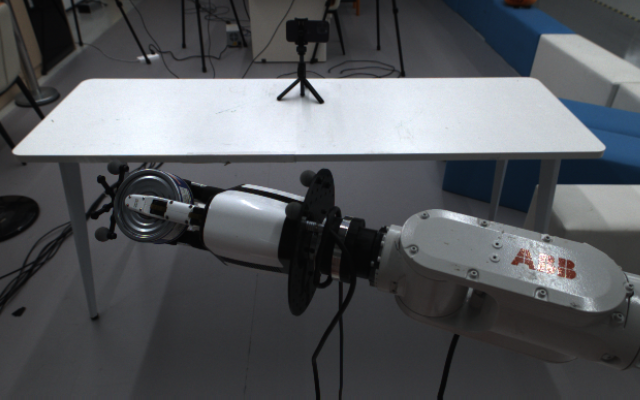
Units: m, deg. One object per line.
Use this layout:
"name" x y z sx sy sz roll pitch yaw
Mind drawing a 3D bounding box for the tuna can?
"tuna can" -0.189 0.007 0.558 0.085 0.085 0.034 10 -6 11
